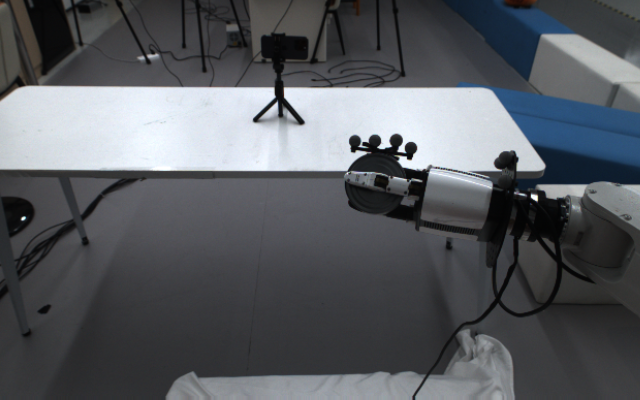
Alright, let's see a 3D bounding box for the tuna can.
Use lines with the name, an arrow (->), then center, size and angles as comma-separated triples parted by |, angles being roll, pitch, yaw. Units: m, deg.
tuna can -> 0.079, -0.025, 0.680 | 0.085, 0.085, 0.034 | 11, -6, 12
